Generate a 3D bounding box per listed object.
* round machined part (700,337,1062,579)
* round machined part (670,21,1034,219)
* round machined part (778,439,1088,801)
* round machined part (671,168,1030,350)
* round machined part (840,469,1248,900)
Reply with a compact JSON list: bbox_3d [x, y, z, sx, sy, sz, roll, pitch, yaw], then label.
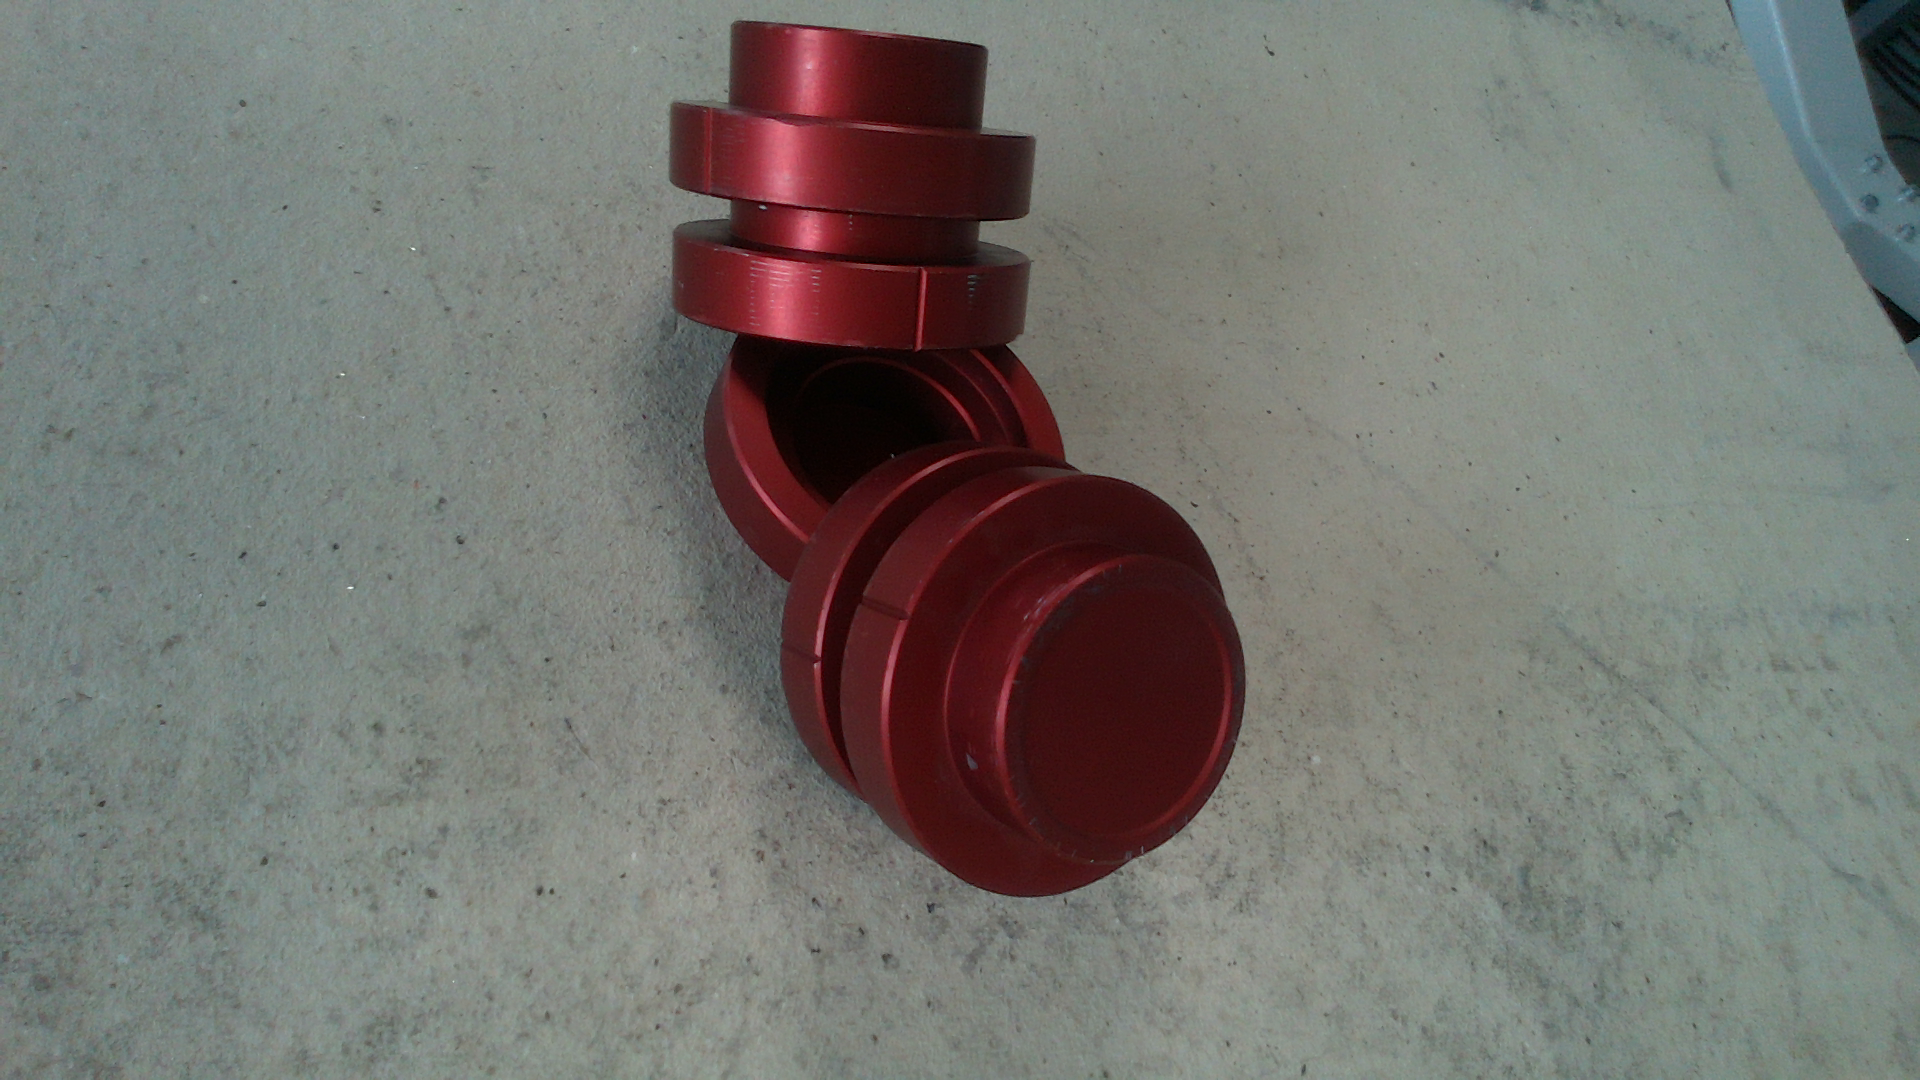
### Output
[{"bbox_3d":[-0.024,-0.021,0.380,0.098,0.042,0.098,14,56,-21],"label":"round machined part"},{"bbox_3d":[-0.028,-0.115,0.372,0.098,0.042,0.098,5,18,-1],"label":"round machined part"},{"bbox_3d":[0.009,0.026,0.336,0.098,0.042,0.098,-6,101,-31],"label":"round machined part"},{"bbox_3d":[-0.029,-0.083,0.378,0.098,0.042,0.098,5,18,-1],"label":"round machined part"},{"bbox_3d":[0.026,0.034,0.310,0.098,0.042,0.098,-5,100,-32],"label":"round machined part"}]
